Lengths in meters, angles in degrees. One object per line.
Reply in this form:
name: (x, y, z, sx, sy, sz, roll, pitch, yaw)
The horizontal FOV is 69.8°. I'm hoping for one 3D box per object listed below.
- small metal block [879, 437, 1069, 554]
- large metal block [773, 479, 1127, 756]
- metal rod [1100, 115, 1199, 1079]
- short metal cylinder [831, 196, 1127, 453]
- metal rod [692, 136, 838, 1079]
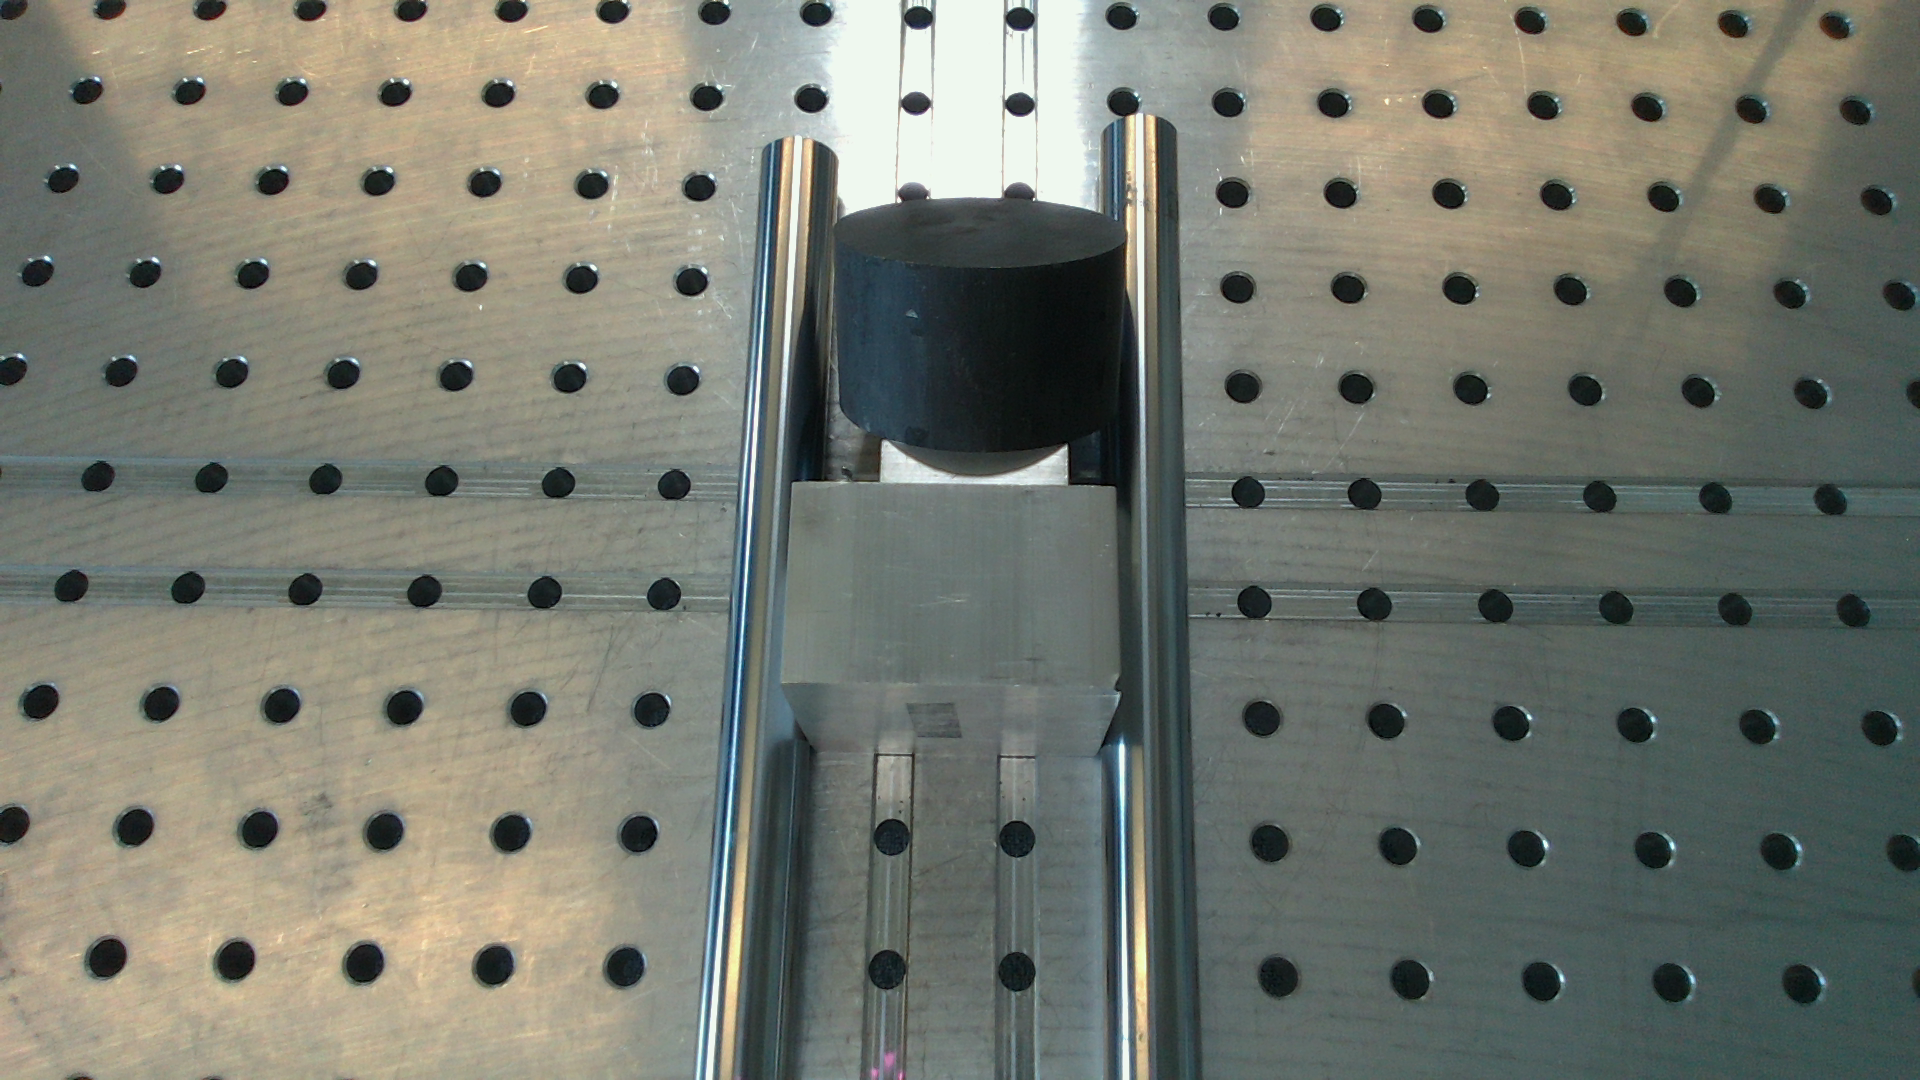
small metal block: (0.004, -0.007, 0.386, 0.050, 0.050, 0.025, 1, 70, 0)
large metal block: (-0.002, 0.023, 0.357, 0.080, 0.080, 0.050, 1, 70, 0)
metal rod: (0.052, 0.011, 0.393, 0.025, 0.025, 0.300, 2, 70, 1)
short metal cylinder: (0.005, -0.062, 0.384, 0.080, 0.050, 0.080, 1, 26, 0)
metal rod: (-0.053, 0.019, 0.390, 0.025, 0.025, 0.300, 1, 70, 0)
